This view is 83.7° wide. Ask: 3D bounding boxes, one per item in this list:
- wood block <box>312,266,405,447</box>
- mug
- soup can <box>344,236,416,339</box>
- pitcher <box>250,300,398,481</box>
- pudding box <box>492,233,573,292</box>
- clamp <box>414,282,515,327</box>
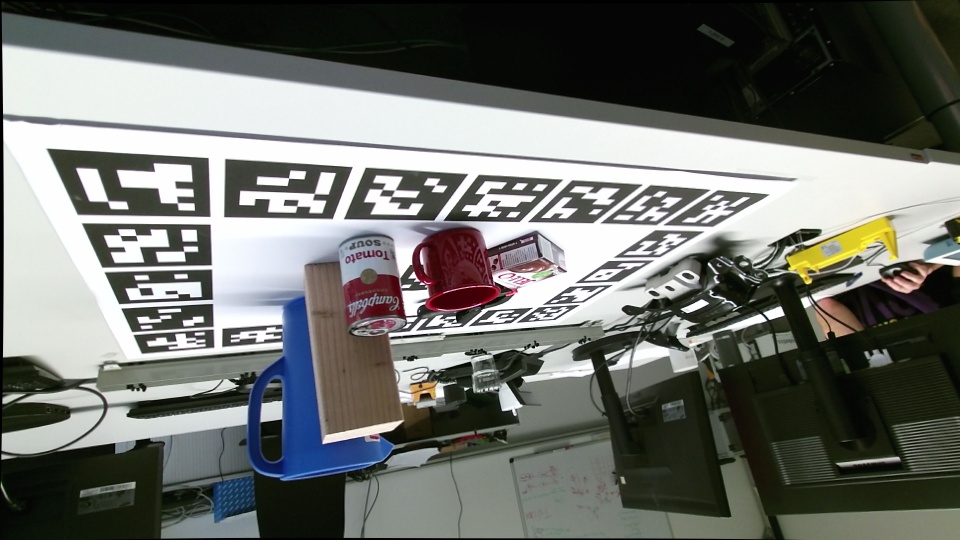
[{"bbox_3d":[-0.158,0.105,0.669,0.090,0.205,0.091,0,156,-23],"label":"wood block"},{"bbox_3d":[-0.028,-0.001,0.652,0.093,0.081,0.117,-20,160,24],"label":"mug"},{"bbox_3d":[-0.117,0.020,0.622,0.068,0.101,0.068,-13,157,-5],"label":"soup can"},{"bbox_3d":[-0.225,0.170,0.752,0.189,0.241,0.133,-5,160,-28],"label":"pitcher"},{"bbox_3d":[0.074,-0.008,0.764,0.090,0.038,0.114,-25,157,21],"label":"pudding box"},{"bbox_3d":[-0.011,0.054,0.888,0.165,0.036,0.122,-26,149,30],"label":"clamp"}]
